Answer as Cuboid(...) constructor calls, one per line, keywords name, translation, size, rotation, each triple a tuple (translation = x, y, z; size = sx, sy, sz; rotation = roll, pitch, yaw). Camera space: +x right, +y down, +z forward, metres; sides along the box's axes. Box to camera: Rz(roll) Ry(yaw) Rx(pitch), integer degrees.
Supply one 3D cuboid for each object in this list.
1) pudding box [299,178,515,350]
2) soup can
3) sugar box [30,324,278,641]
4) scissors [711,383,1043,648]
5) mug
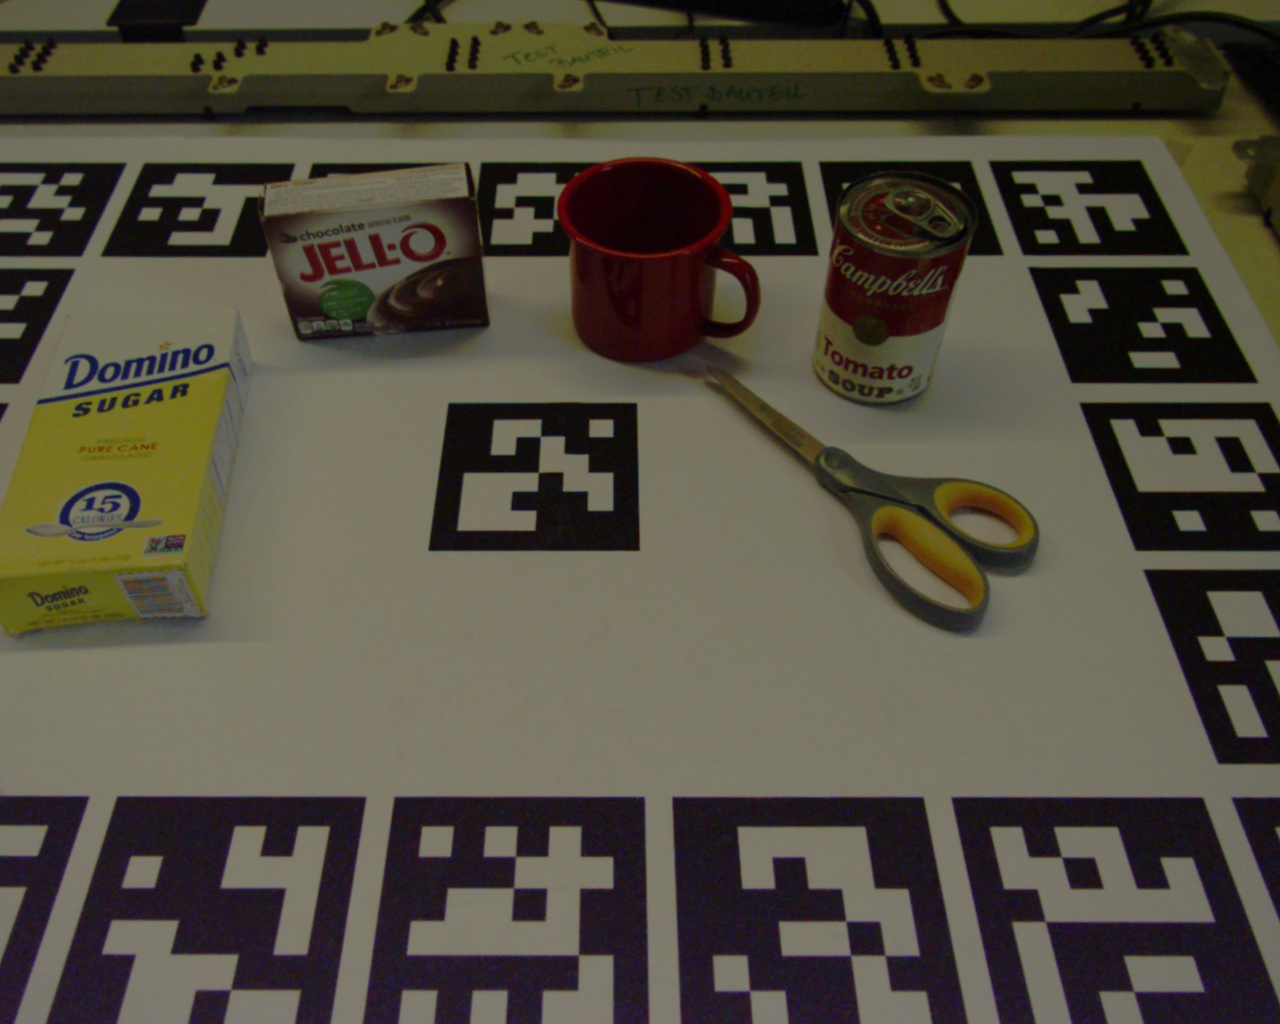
Cuboid(name="pudding box", translation=(-0.131, -0.142, 0.654), size=(0.113, 0.090, 0.039), rotation=(-8, 60, -7))
Cuboid(name="soup can", translation=(0.135, -0.112, 0.636), size=(0.068, 0.101, 0.068), rotation=(-1, 51, 0))
Cuboid(name="sugar box", translation=(-0.247, -0.021, 0.598), size=(0.093, 0.045, 0.177), rotation=(-5, 54, -1))
Cuboid(name="scissors", translation=(0.115, -0.015, 0.604), size=(0.087, 0.016, 0.205), rotation=(-42, 63, -16))
Cuboid(name="mug", translation=(0.018, -0.140, 0.662), size=(0.092, 0.081, 0.118), rotation=(-33, 58, -20))
